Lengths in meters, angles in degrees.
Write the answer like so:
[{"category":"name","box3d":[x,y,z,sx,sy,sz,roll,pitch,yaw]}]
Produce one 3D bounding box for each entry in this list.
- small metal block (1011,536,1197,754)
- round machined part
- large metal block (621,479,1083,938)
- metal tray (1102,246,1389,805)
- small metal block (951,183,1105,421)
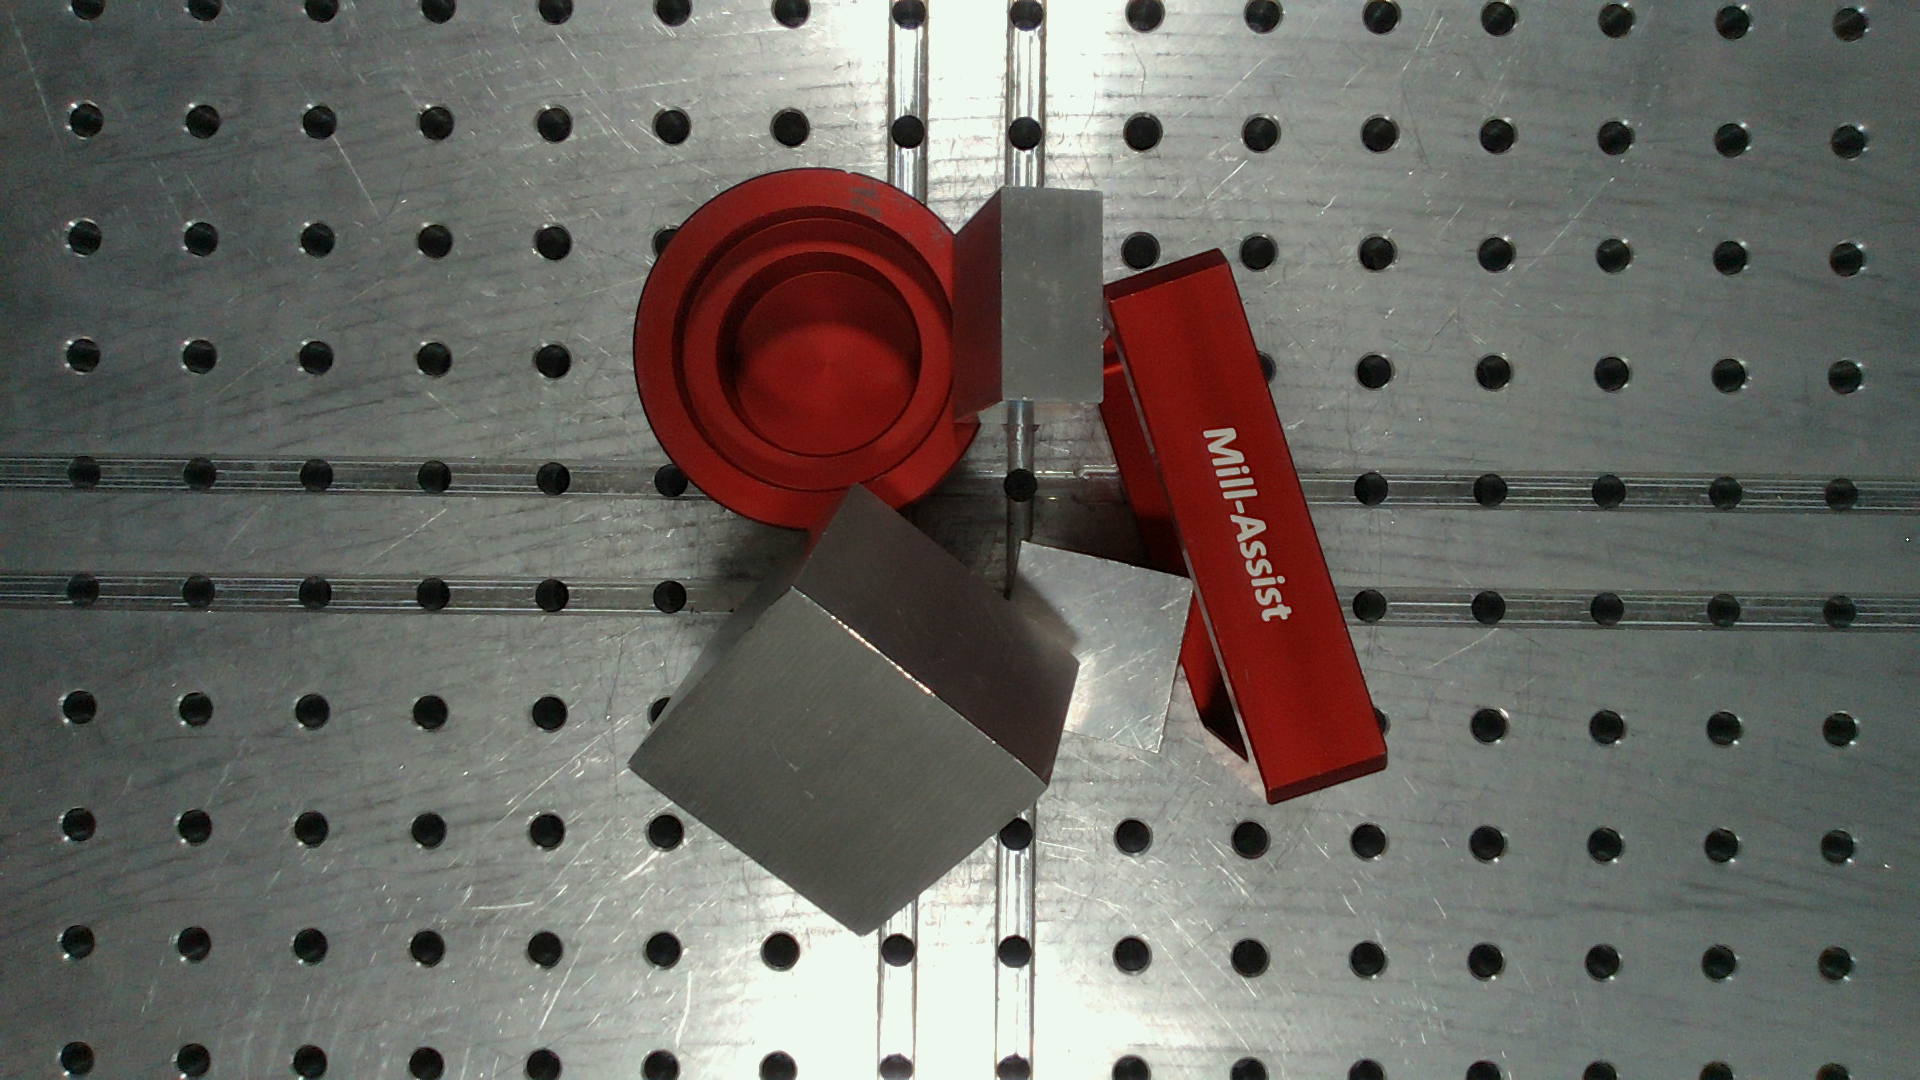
[{"category":"small metal block","box3d":[0.039,0.029,0.393,0.050,0.025,0.050,12,95,11]},{"category":"round machined part","box3d":[-0.039,-0.051,0.388,0.098,0.042,0.098,0,90,0]},{"category":"large metal block","box3d":[-0.027,0.046,0.363,0.080,0.050,0.080,39,122,-11]},{"category":"metal tray","box3d":[0.068,-0.004,0.365,0.030,0.090,0.130,-18,90,0]},{"category":"small metal block","box3d":[0.016,-0.057,0.344,0.025,0.050,0.050,0,89,-14]}]
